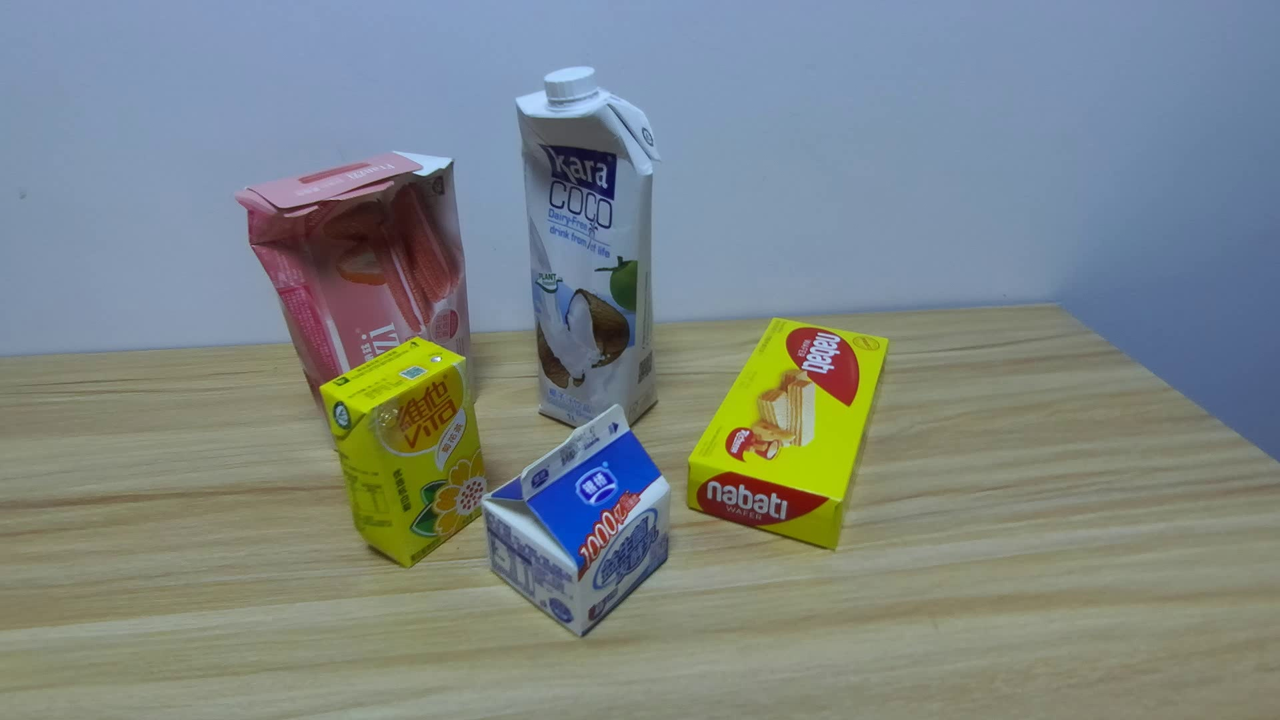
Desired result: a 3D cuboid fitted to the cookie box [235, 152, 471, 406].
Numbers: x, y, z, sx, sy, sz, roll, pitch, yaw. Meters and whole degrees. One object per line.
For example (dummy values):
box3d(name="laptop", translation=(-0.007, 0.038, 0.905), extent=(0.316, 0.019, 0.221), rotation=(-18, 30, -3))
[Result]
box3d(name="cookie box", translation=(-0.167, -0.030, 0.454), extent=(0.055, 0.184, 0.119), rotation=(22, 39, 30))

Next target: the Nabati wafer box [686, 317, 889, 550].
box3d(name="Nabati wafer box", translation=(0.110, 0.038, 0.485), extent=(0.092, 0.042, 0.203), rotation=(13, 33, 20))

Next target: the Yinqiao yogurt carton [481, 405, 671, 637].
box3d(name="Yinqiao yogurt carton", translation=(-0.033, 0.076, 0.371), extent=(0.073, 0.092, 0.076), rotation=(24, 40, 34))

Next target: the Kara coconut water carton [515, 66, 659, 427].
box3d(name="Kara coconut water carton", translation=(-0.032, -0.064, 0.460), extent=(0.114, 0.239, 0.069), rotation=(21, 38, 30))

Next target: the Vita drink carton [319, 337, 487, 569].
box3d(name="Vita drink carton", translation=(-0.129, 0.053, 0.391), extent=(0.043, 0.109, 0.076), rotation=(20, 36, 30))
